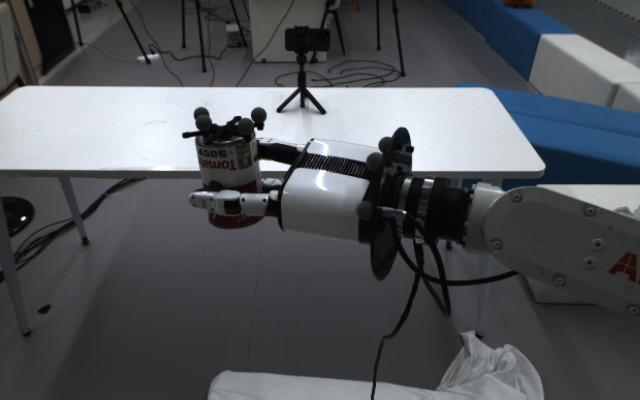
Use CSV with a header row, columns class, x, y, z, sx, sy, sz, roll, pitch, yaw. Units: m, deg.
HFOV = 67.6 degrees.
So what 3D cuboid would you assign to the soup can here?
class,x,y,z,sx,sy,sz,roll,pitch,yaw
soup can,-0.099,-0.027,0.553,0.067,0.101,0.067,-3,26,2
